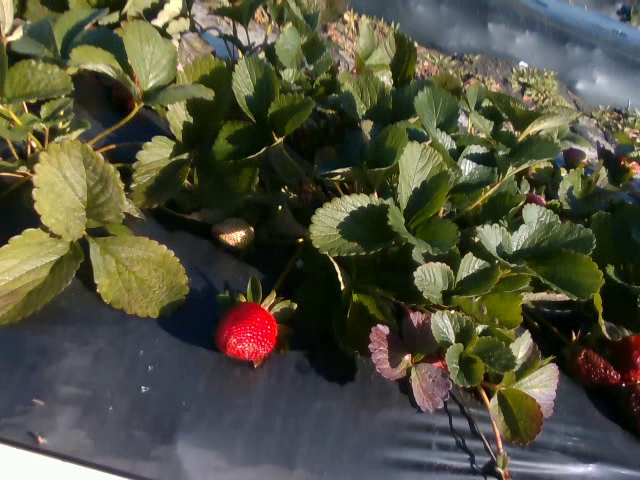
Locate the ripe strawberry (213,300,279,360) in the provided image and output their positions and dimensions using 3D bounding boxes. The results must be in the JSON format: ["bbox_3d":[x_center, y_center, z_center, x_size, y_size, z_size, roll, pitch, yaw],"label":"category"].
[{"bbox_3d":[-0.049,0.061,0.381,0.043,0.043,0.050,-43,-8,17],"label":"ripe strawberry"}]
